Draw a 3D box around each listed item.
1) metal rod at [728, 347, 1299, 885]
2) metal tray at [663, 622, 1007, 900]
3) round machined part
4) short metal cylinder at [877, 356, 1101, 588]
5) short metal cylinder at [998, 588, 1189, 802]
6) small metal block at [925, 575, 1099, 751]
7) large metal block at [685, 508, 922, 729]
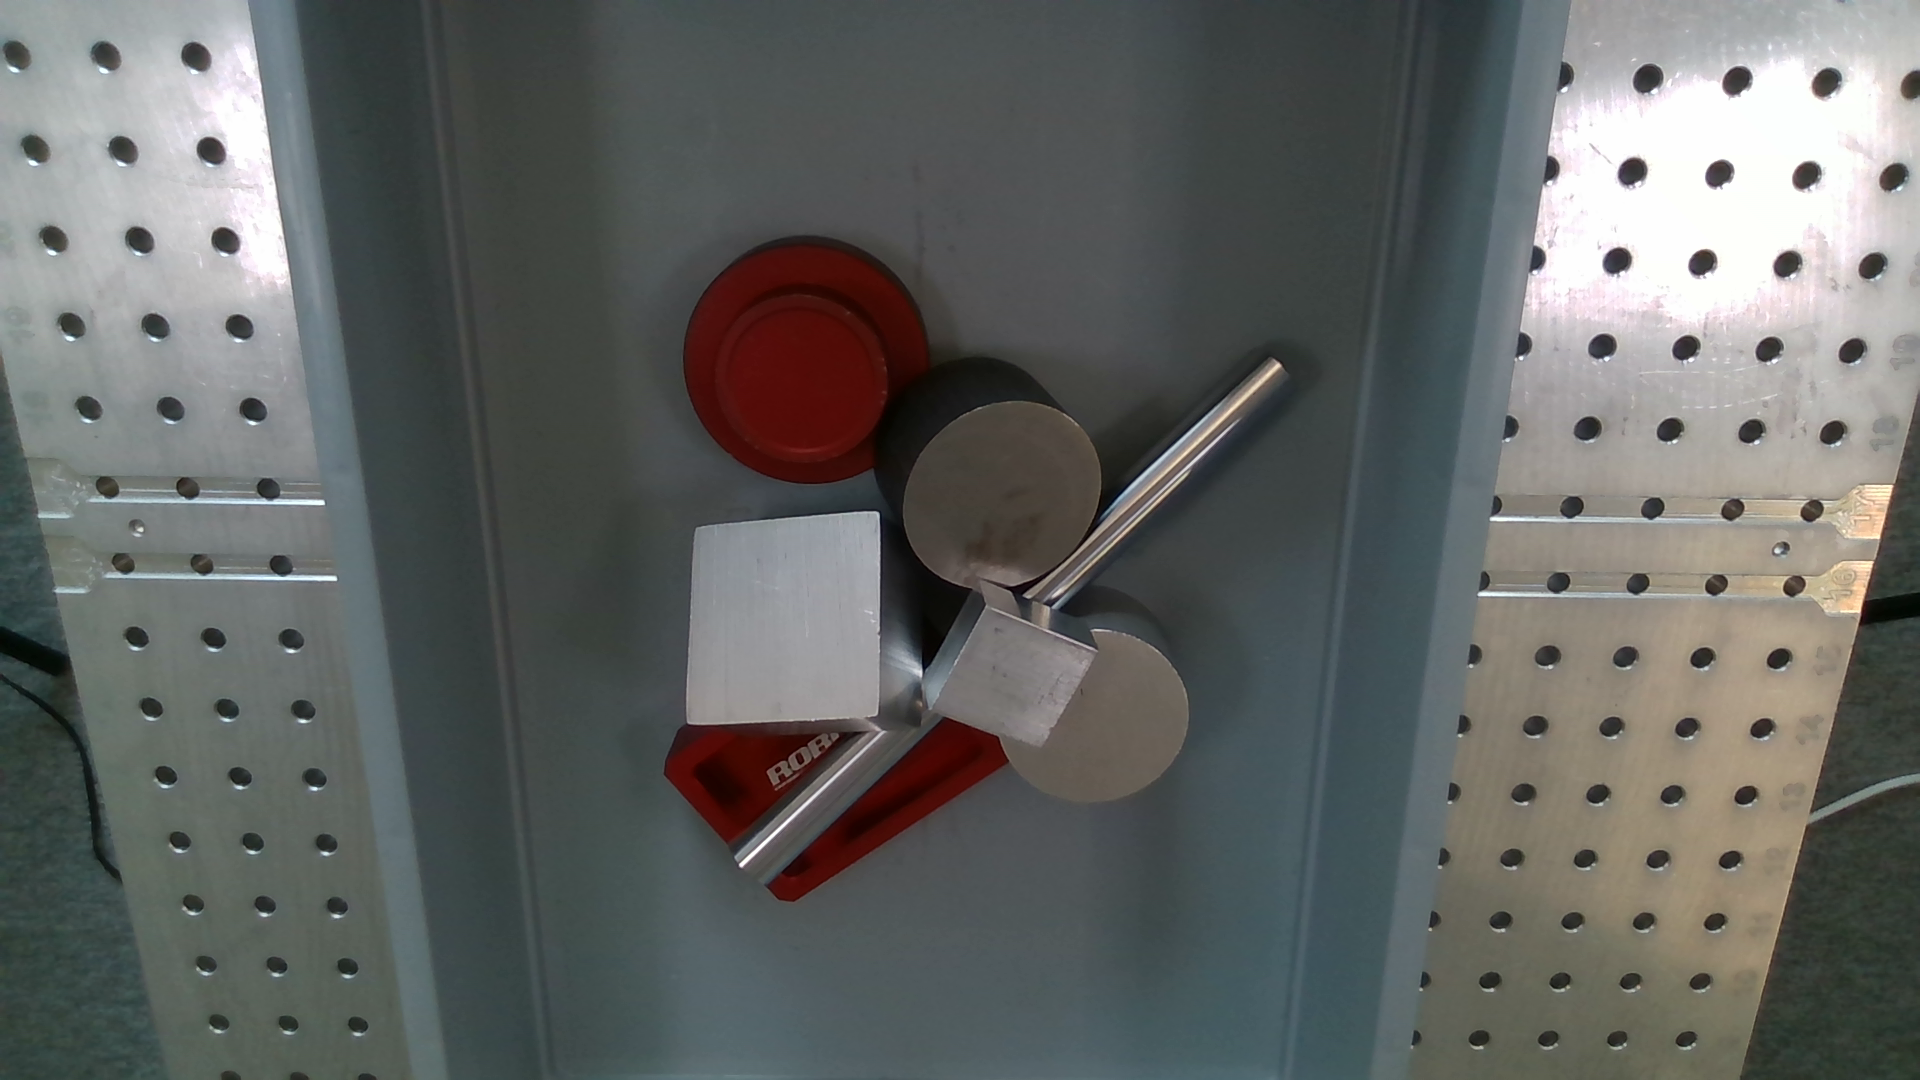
[{"bbox_3d":[0.020,0.033,0.570,0.300,0.025,0.025,-43,105,5],"label":"metal rod"},{"bbox_3d":[-0.054,0.092,0.615,0.130,0.030,0.090,-35,107,12],"label":"metal tray"},{"bbox_3d":[-0.062,-0.069,0.548,0.098,0.042,0.098,0,110,0],"label":"round machined part"},{"bbox_3d":[0.010,-0.027,0.549,0.080,0.050,0.080,-8,119,-14],"label":"short metal cylinder"},{"bbox_3d":[0.055,0.065,0.595,0.080,0.050,0.080,0,110,0],"label":"short metal cylinder"},{"bbox_3d":[0.019,0.049,0.546,0.050,0.025,0.050,22,109,-16],"label":"small metal block"},{"bbox_3d":[-0.062,0.035,0.556,0.080,0.050,0.080,-5,77,17],"label":"large metal block"}]
